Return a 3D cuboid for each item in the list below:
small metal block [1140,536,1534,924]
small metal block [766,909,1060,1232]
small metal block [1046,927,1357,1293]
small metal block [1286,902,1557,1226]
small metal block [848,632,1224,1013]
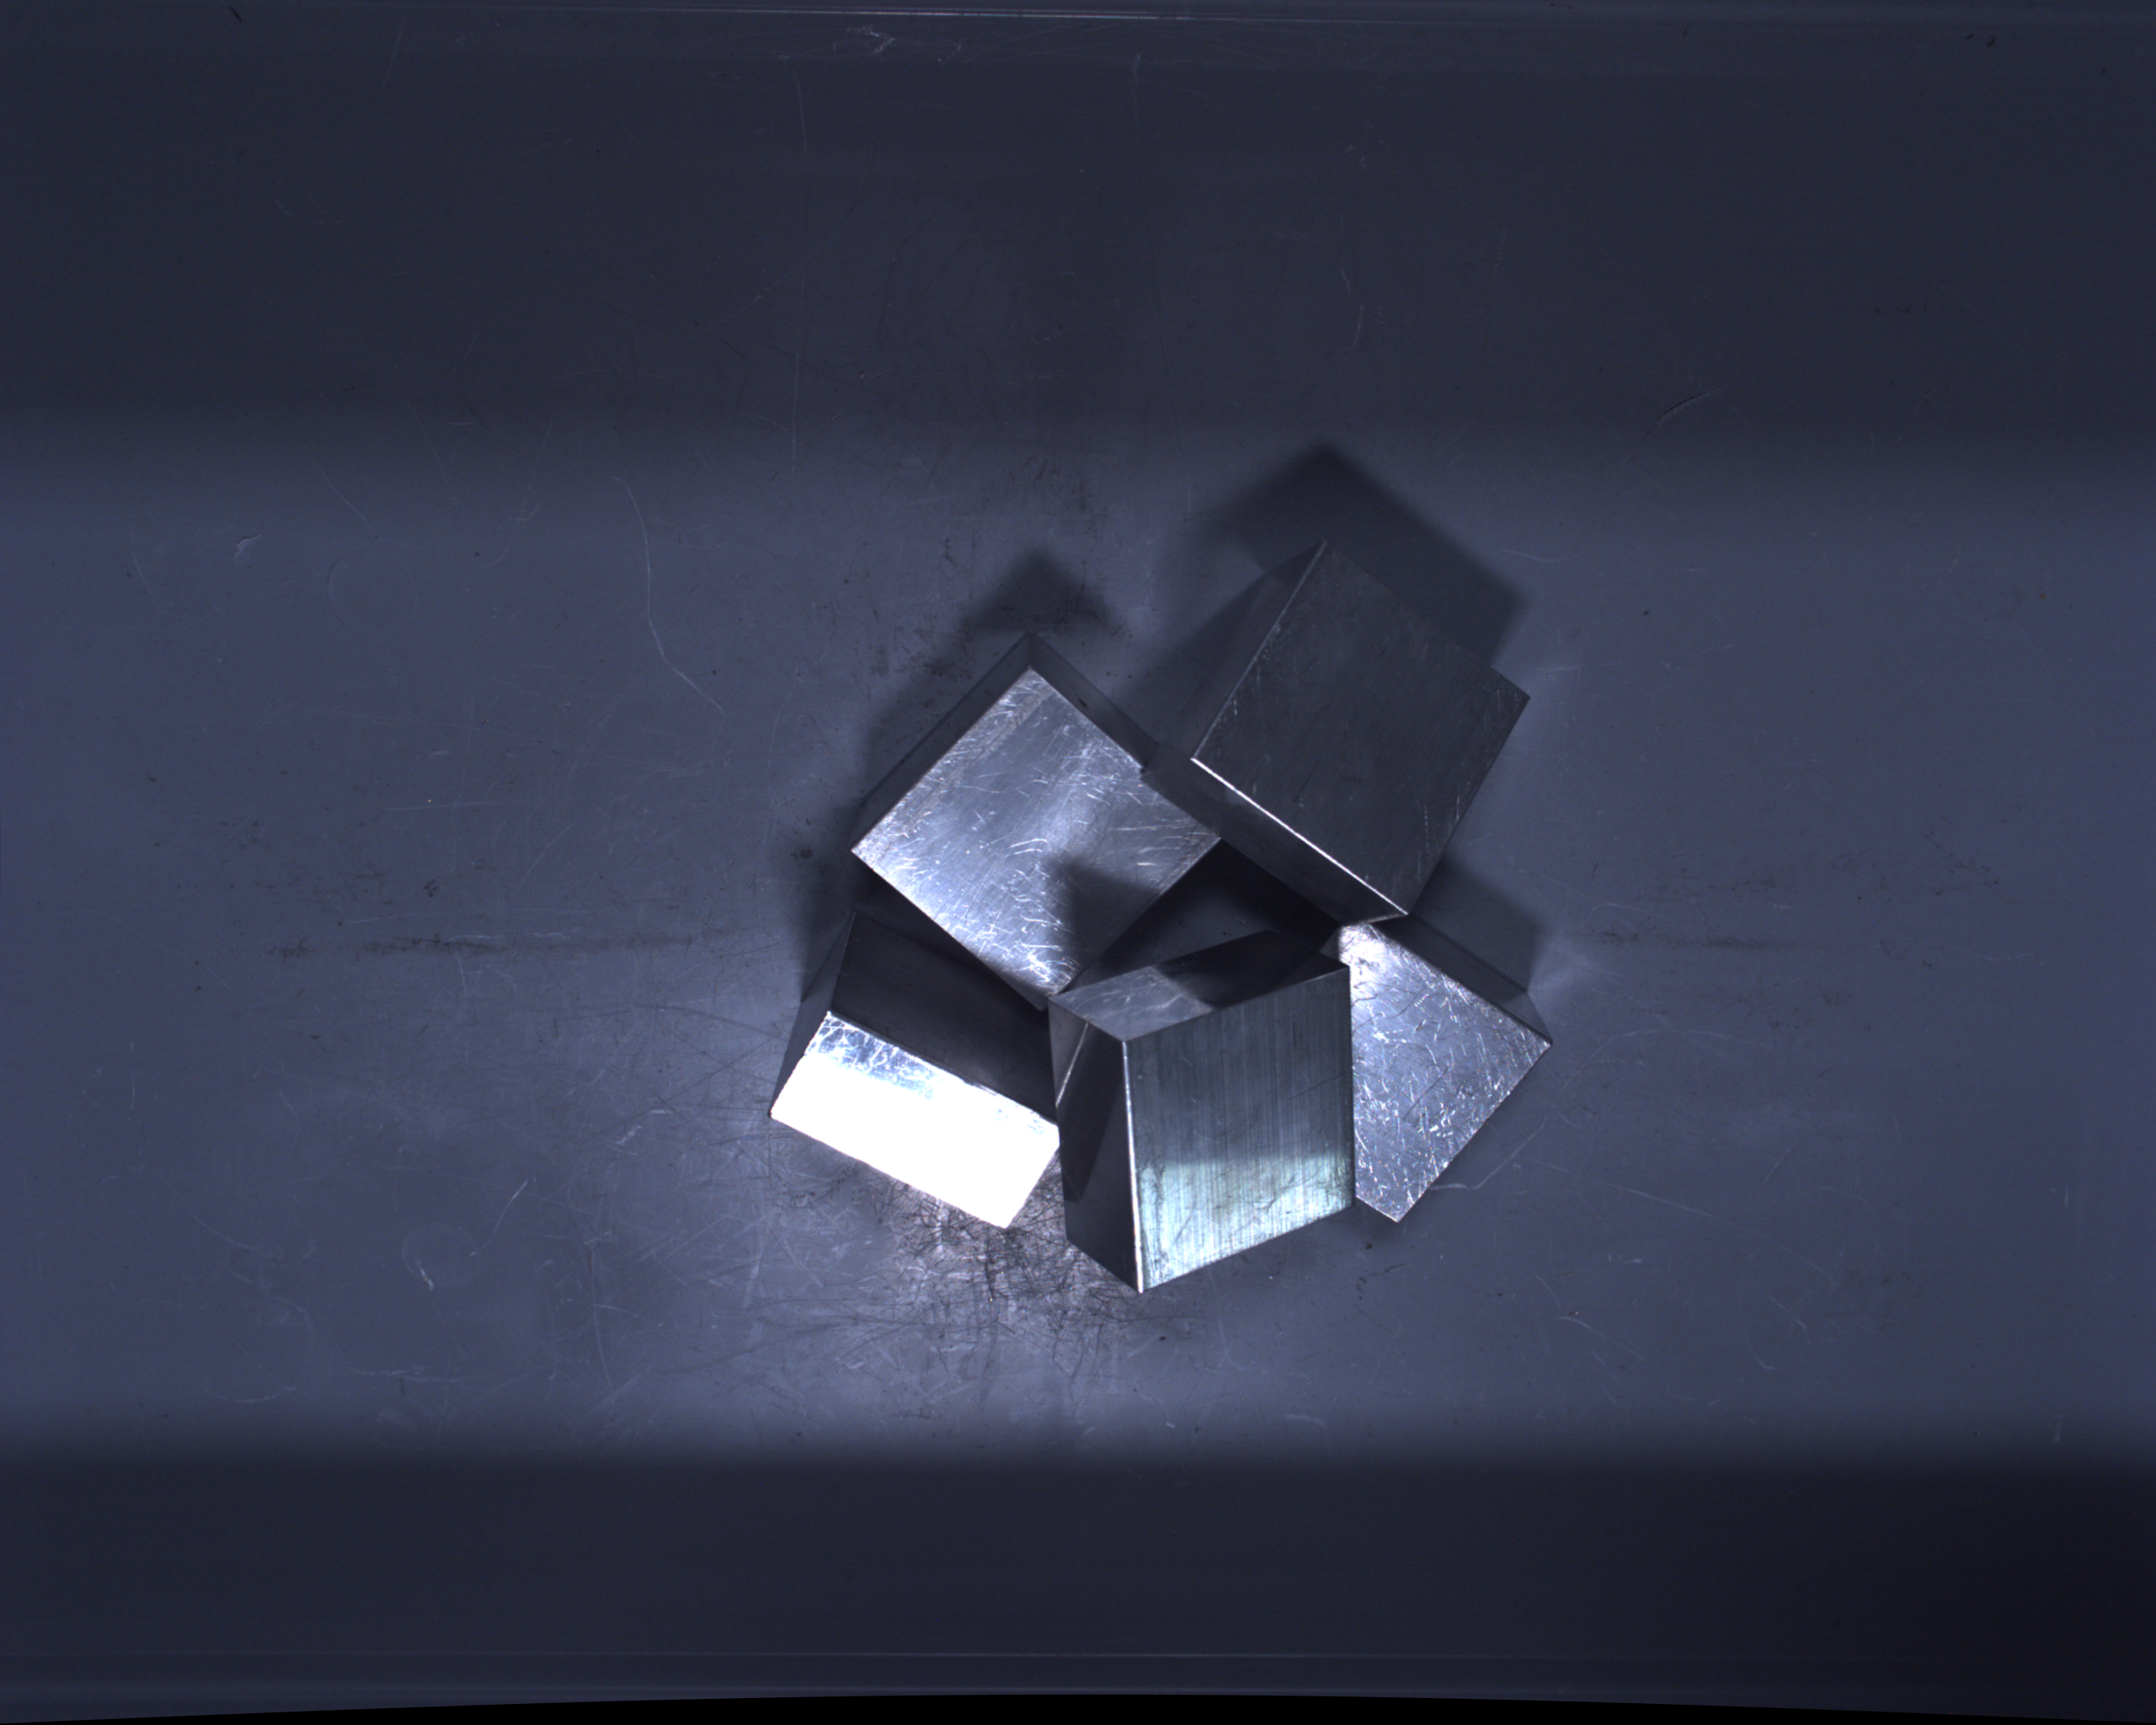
[{"bbox_3d":[0.049,-0.024,0.390,0.050,0.025,0.050,35,73,-13],"label":"small metal block"},{"bbox_3d":[-0.030,0.040,0.410,0.050,0.050,0.025,28,108,-10],"label":"small metal block"},{"bbox_3d":[0.024,0.045,0.388,0.050,0.025,0.050,-16,113,-29],"label":"small metal block"},{"bbox_3d":[0.059,0.037,0.424,0.050,0.025,0.050,34,106,-12],"label":"small metal block"},{"bbox_3d":[-0.008,-0.008,0.406,0.050,0.025,0.050,42,104,-14],"label":"small metal block"}]
